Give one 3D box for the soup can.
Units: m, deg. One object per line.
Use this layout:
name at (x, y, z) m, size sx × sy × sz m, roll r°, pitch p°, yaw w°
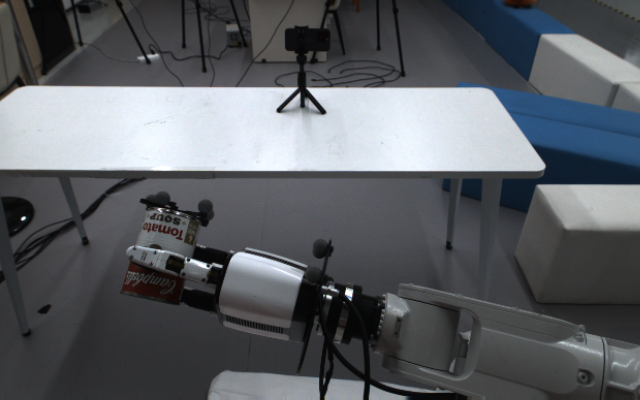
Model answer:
soup can at (-0.184, 0.068, 0.568) m, size 0.067 × 0.067 × 0.101 m, roll 9°, pitch 74°, yaw 9°
